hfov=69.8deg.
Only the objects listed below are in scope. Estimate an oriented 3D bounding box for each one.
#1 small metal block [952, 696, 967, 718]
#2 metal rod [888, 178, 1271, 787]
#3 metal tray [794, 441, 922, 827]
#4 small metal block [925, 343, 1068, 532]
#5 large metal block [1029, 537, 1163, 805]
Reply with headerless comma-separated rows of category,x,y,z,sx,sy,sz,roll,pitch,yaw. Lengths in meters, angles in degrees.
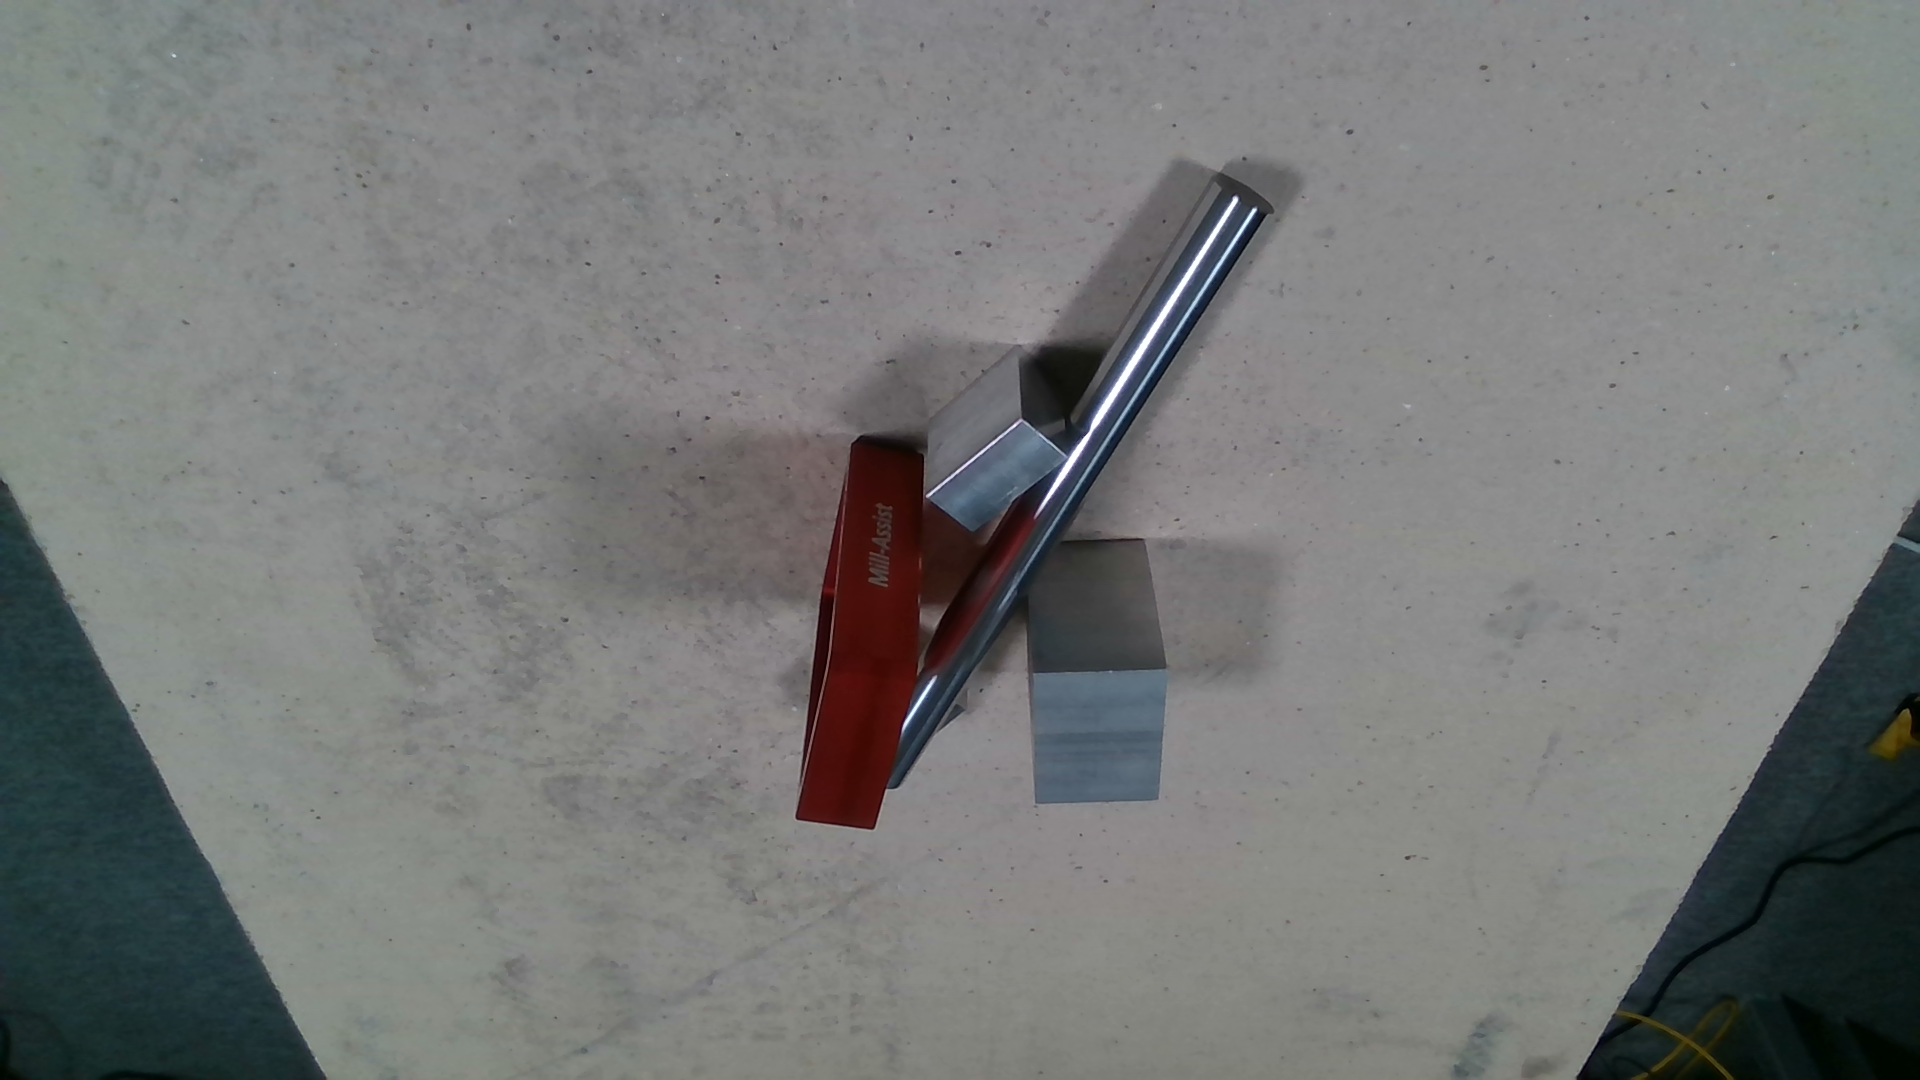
small metal block,-0.032,0.070,0.639,0.050,0.025,0.050,34,122,-25
metal rod,0.031,-0.008,0.555,0.025,0.025,0.301,21,122,-17
metal tray,-0.039,0.034,0.540,0.030,0.130,0.090,9,129,-8
small metal block,0.013,-0.039,0.529,0.025,0.050,0.050,37,121,-27
large metal block,0.055,0.056,0.589,0.050,0.080,0.080,-2,130,1
